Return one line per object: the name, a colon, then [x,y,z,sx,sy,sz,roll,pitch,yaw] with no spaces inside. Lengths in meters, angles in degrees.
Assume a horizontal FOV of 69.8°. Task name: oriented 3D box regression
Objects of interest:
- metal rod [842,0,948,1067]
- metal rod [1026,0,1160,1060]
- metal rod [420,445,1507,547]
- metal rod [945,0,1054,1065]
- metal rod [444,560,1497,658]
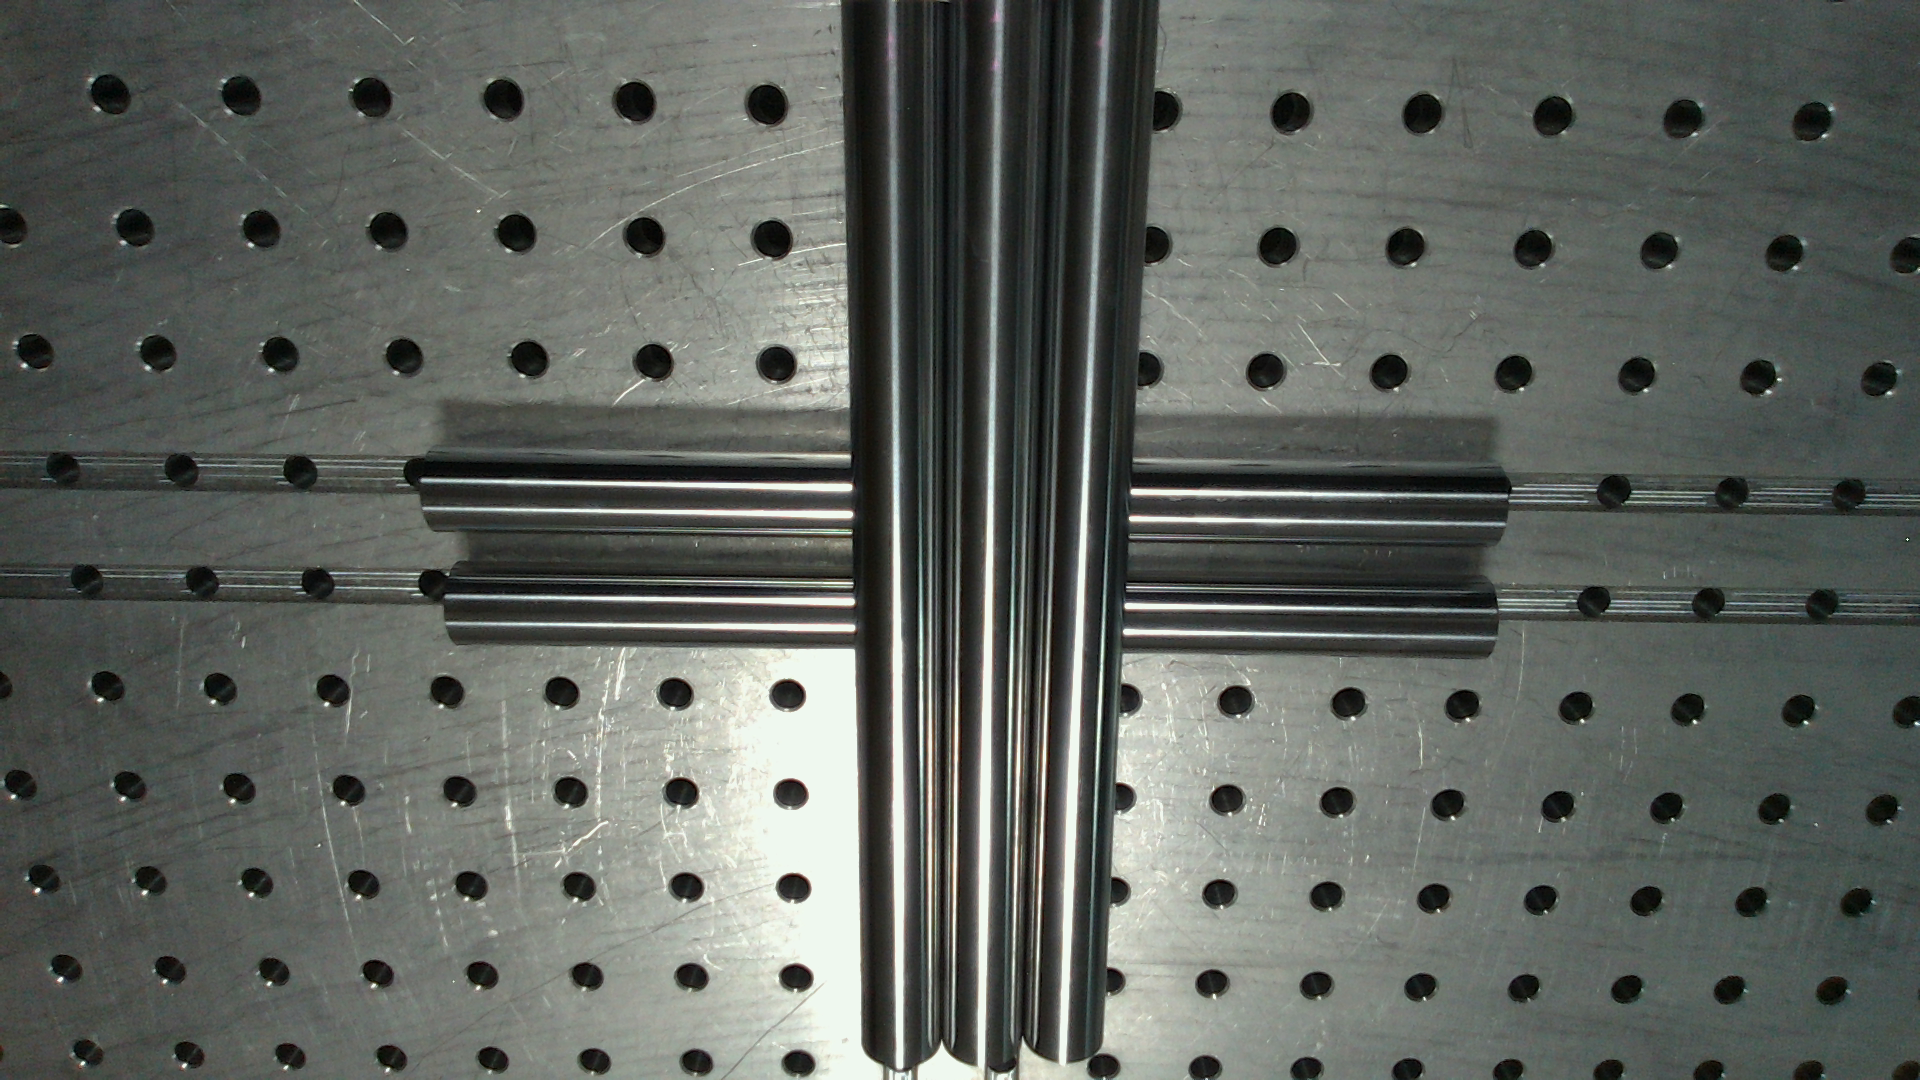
metal rod: [-0.017,0.014,0.375,0.025,0.025,0.300,0,110,0]
metal rod: [0.033,0.012,0.375,0.025,0.025,0.300,0,110,0]
metal rod: [0.001,-0.013,0.392,0.300,0.025,0.025,1,110,-1]
metal rod: [0.008,0.014,0.375,0.025,0.025,0.300,0,110,0]
metal rod: [0.004,0.020,0.404,0.300,0.025,0.025,1,110,-1]
